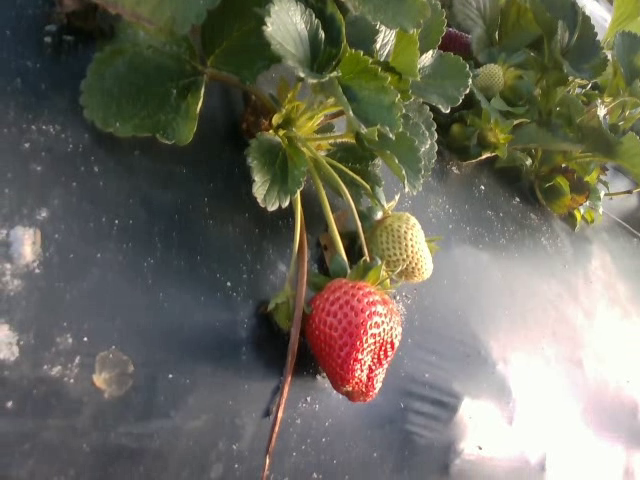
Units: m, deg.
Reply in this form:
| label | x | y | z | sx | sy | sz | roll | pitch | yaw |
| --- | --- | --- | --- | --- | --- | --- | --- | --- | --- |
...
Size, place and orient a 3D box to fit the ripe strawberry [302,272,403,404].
| label | x | y | z | sx | sy | sz | roll | pitch | yaw |
| --- | --- | --- | --- | --- | --- | --- | --- | --- | --- |
| ripe strawberry | 0.020 | 0.041 | 0.240 | 0.047 | 0.050 | 0.034 | 19 | -22 | -32 |
